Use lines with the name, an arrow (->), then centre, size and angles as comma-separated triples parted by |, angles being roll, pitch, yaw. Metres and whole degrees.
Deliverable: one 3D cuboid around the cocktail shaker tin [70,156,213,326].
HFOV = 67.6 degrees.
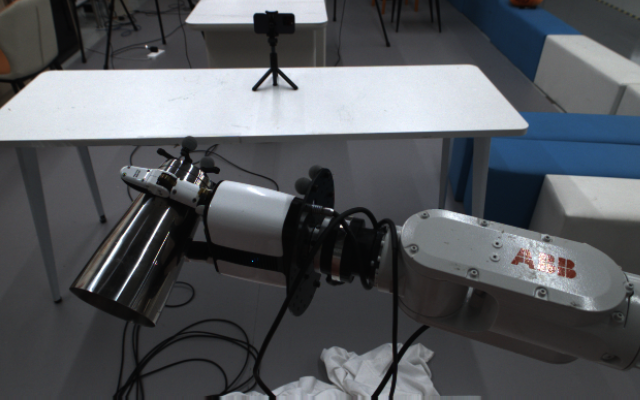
cocktail shaker tin -> -0.181, 0.040, 0.532 | 0.093, 0.093, 0.170 | 13, 60, 15
